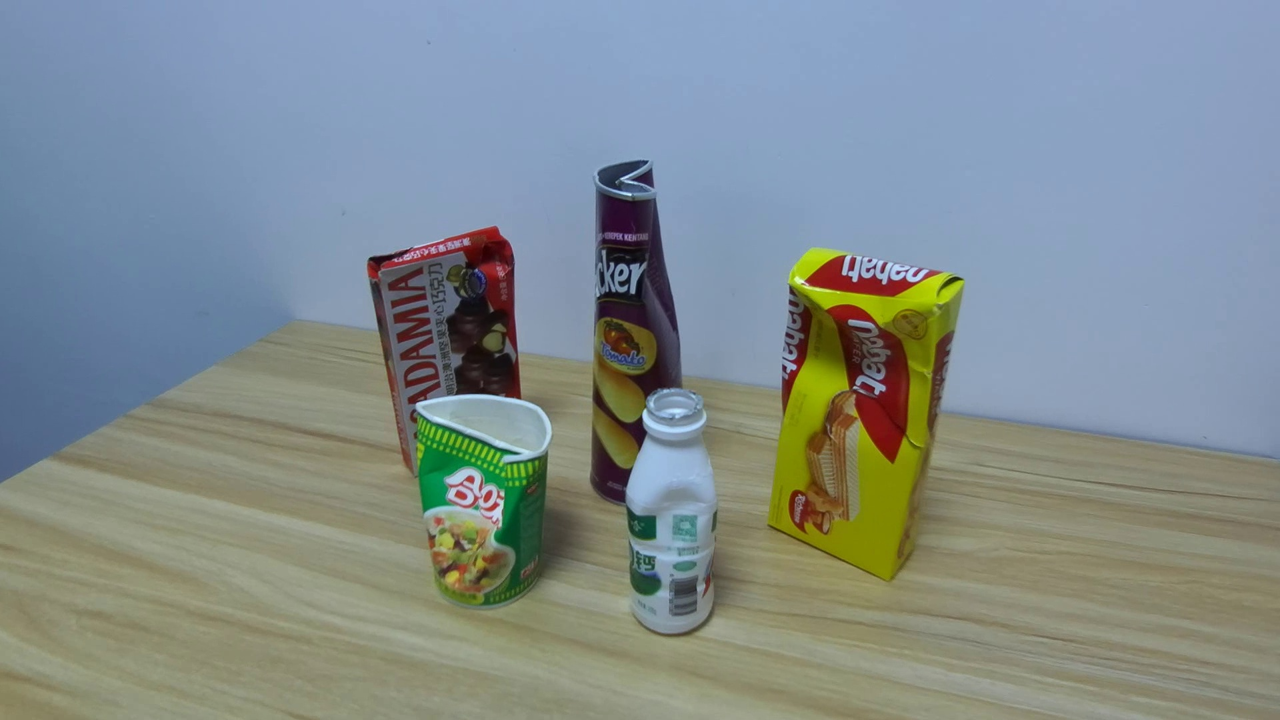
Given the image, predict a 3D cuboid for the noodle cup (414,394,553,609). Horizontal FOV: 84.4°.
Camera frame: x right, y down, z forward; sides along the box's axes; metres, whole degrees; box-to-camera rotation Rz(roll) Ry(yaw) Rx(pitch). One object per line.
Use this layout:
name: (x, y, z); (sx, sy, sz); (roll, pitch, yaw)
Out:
noodle cup: (-0.097, 0.091, 0.444); (0.075, 0.122, 0.082); (-4, 18, -21)

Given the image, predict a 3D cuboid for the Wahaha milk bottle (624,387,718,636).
Wahaha milk bottle: (0.018, 0.087, 0.404); (0.055, 0.149, 0.055); (-2, 29, 1)

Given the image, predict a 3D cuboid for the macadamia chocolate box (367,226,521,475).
macadamia chocolate box: (-0.141, -0.004, 0.540); (0.103, 0.187, 0.027); (-16, 34, -27)

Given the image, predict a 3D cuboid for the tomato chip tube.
tomato chip tube: (0.000, -0.012, 0.497); (0.078, 0.235, 0.076); (-21, 33, -36)

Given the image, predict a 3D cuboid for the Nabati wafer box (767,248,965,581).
Nabati wafer box: (0.132, 0.033, 0.443); (0.106, 0.204, 0.042); (21, 36, 35)
